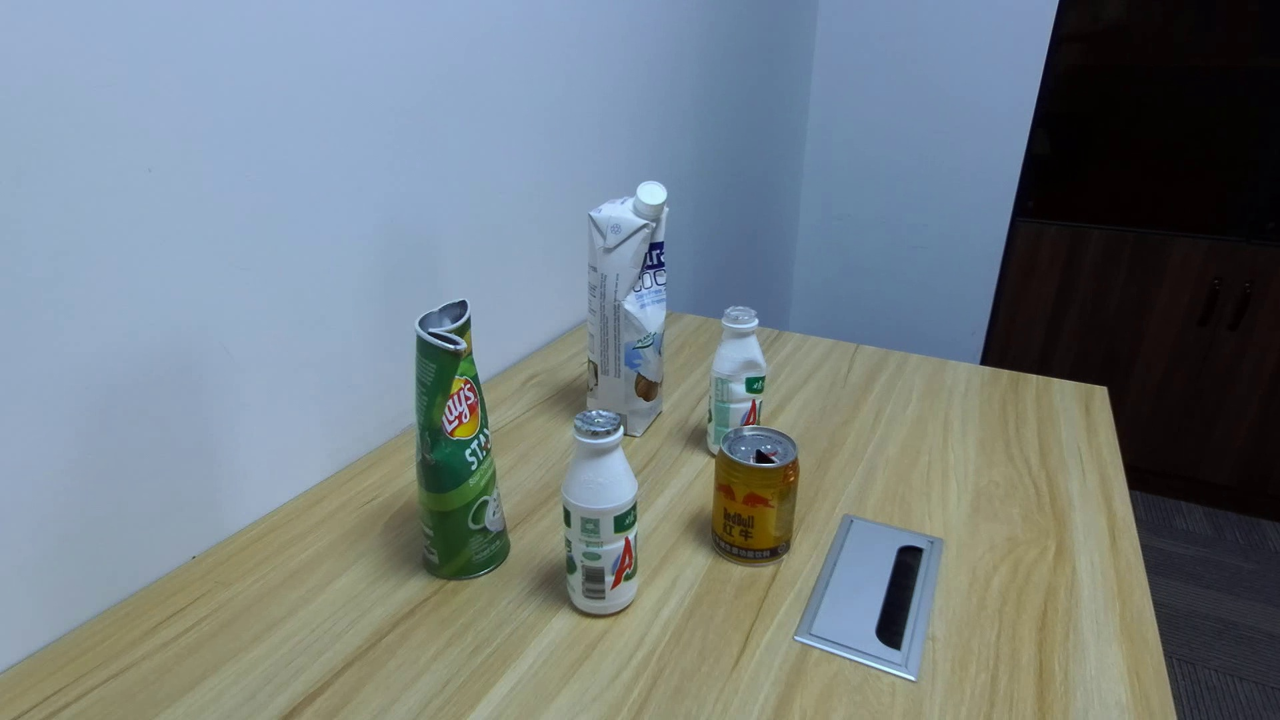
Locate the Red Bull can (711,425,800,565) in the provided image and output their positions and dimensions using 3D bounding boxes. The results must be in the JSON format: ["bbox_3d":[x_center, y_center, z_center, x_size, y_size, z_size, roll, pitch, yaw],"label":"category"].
[{"bbox_3d":[0.091,0.107,0.563,0.067,0.093,0.067,2,24,0],"label":"Red Bull can"}]

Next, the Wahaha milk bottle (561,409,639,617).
[{"bbox_3d":[-0.027,0.107,0.493,0.053,0.147,0.053,0,25,0],"label":"Wahaha milk bottle"}]

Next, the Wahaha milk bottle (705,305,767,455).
[{"bbox_3d":[0.094,0.023,0.679,0.055,0.149,0.055,2,24,0],"label":"Wahaha milk bottle"}]

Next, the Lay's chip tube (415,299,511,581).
[{"bbox_3d":[-0.139,0.063,0.530,0.069,0.201,0.077,-16,30,-32],"label":"Lay's chip tube"}]
